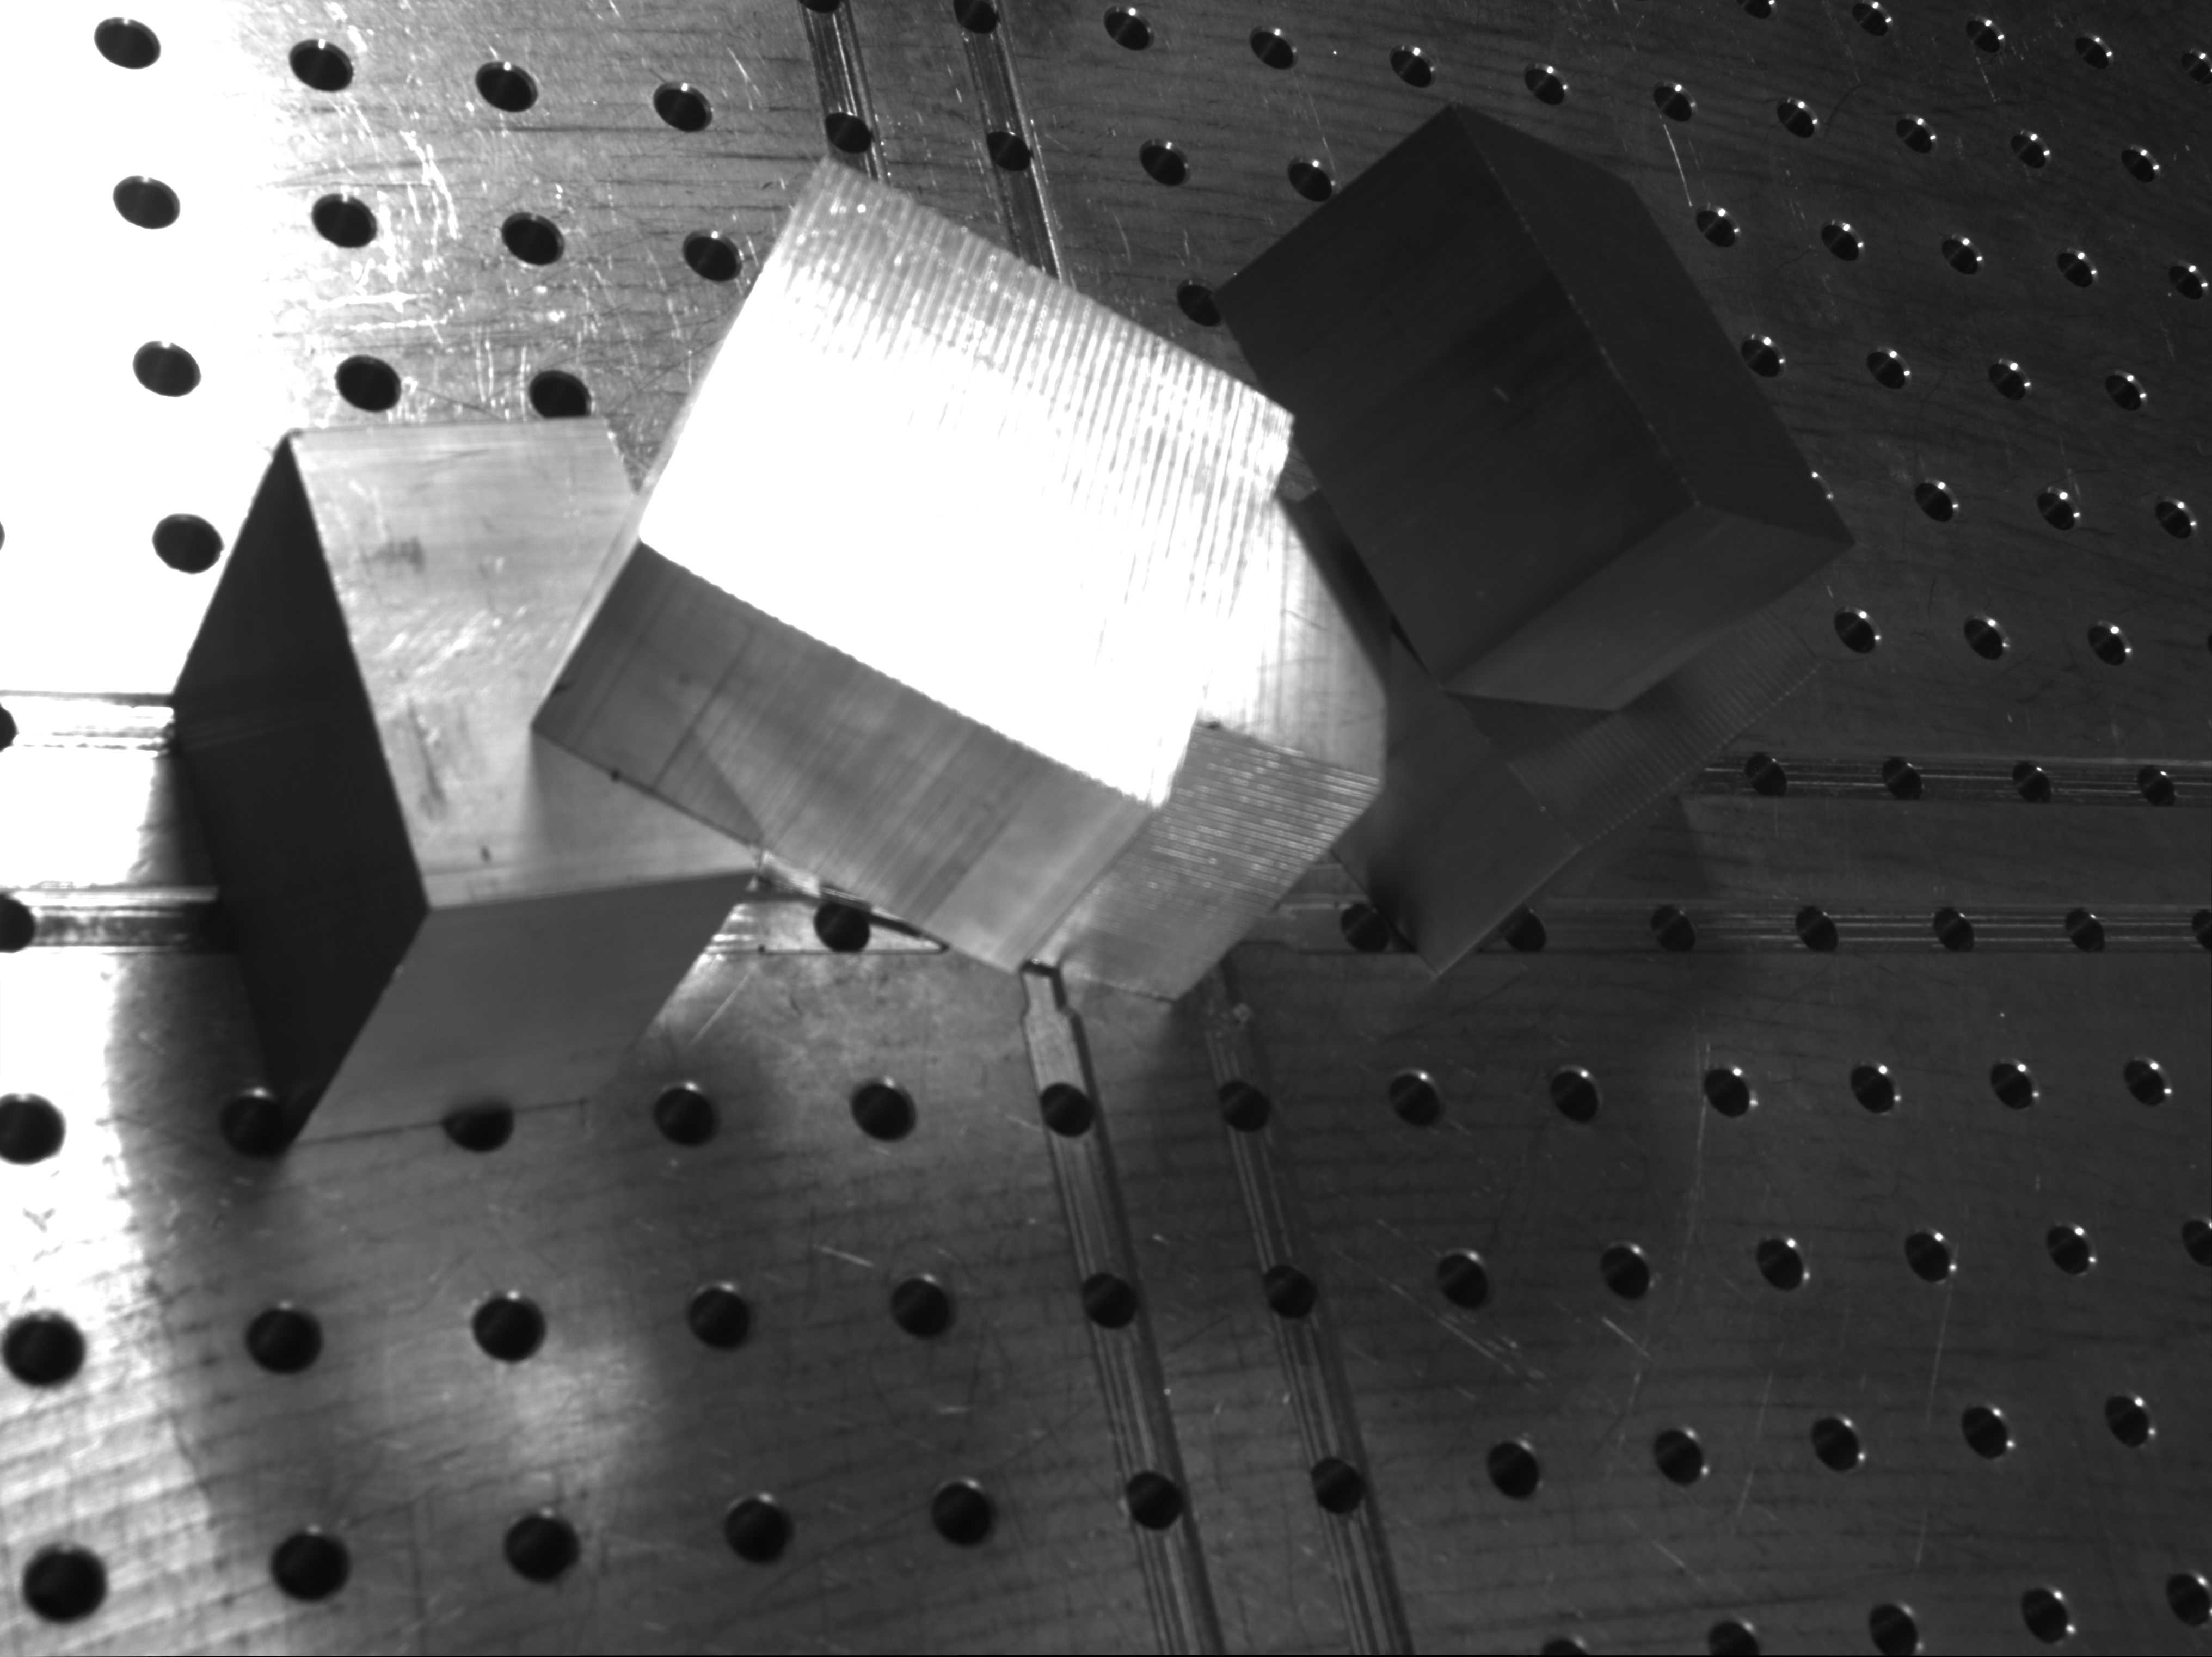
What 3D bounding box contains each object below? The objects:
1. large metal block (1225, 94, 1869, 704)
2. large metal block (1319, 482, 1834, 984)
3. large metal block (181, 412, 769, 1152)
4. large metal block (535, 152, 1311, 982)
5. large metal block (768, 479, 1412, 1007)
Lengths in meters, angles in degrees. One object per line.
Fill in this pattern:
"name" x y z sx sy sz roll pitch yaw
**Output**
"large metal block" 0.076 -0.070 0.622 0.080 0.050 0.080 2 56 -61
"large metal block" 0.075 -0.031 0.686 0.080 0.050 0.080 -34 81 -38
"large metal block" -0.099 -0.007 0.558 0.050 0.080 0.080 -6 65 -31
"large metal block" -0.025 -0.038 0.532 0.080 0.050 0.080 27 52 -10
"large metal block" -0.003 -0.020 0.617 0.080 0.080 0.050 17 55 -18
